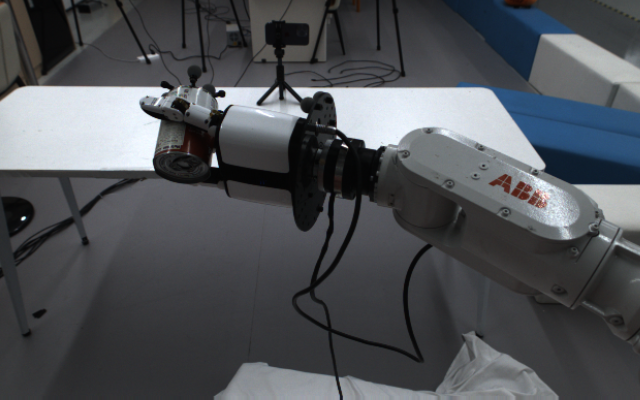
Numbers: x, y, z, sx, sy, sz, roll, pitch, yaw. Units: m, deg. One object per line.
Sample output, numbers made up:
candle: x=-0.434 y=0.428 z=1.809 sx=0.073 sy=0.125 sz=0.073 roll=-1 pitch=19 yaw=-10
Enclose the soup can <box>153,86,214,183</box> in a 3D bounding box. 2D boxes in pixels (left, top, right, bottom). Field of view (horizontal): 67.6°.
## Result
soup can: x=-0.162 y=-0.080 z=0.592 sx=0.067 sy=0.067 sz=0.101 roll=1 pitch=61 yaw=-2
